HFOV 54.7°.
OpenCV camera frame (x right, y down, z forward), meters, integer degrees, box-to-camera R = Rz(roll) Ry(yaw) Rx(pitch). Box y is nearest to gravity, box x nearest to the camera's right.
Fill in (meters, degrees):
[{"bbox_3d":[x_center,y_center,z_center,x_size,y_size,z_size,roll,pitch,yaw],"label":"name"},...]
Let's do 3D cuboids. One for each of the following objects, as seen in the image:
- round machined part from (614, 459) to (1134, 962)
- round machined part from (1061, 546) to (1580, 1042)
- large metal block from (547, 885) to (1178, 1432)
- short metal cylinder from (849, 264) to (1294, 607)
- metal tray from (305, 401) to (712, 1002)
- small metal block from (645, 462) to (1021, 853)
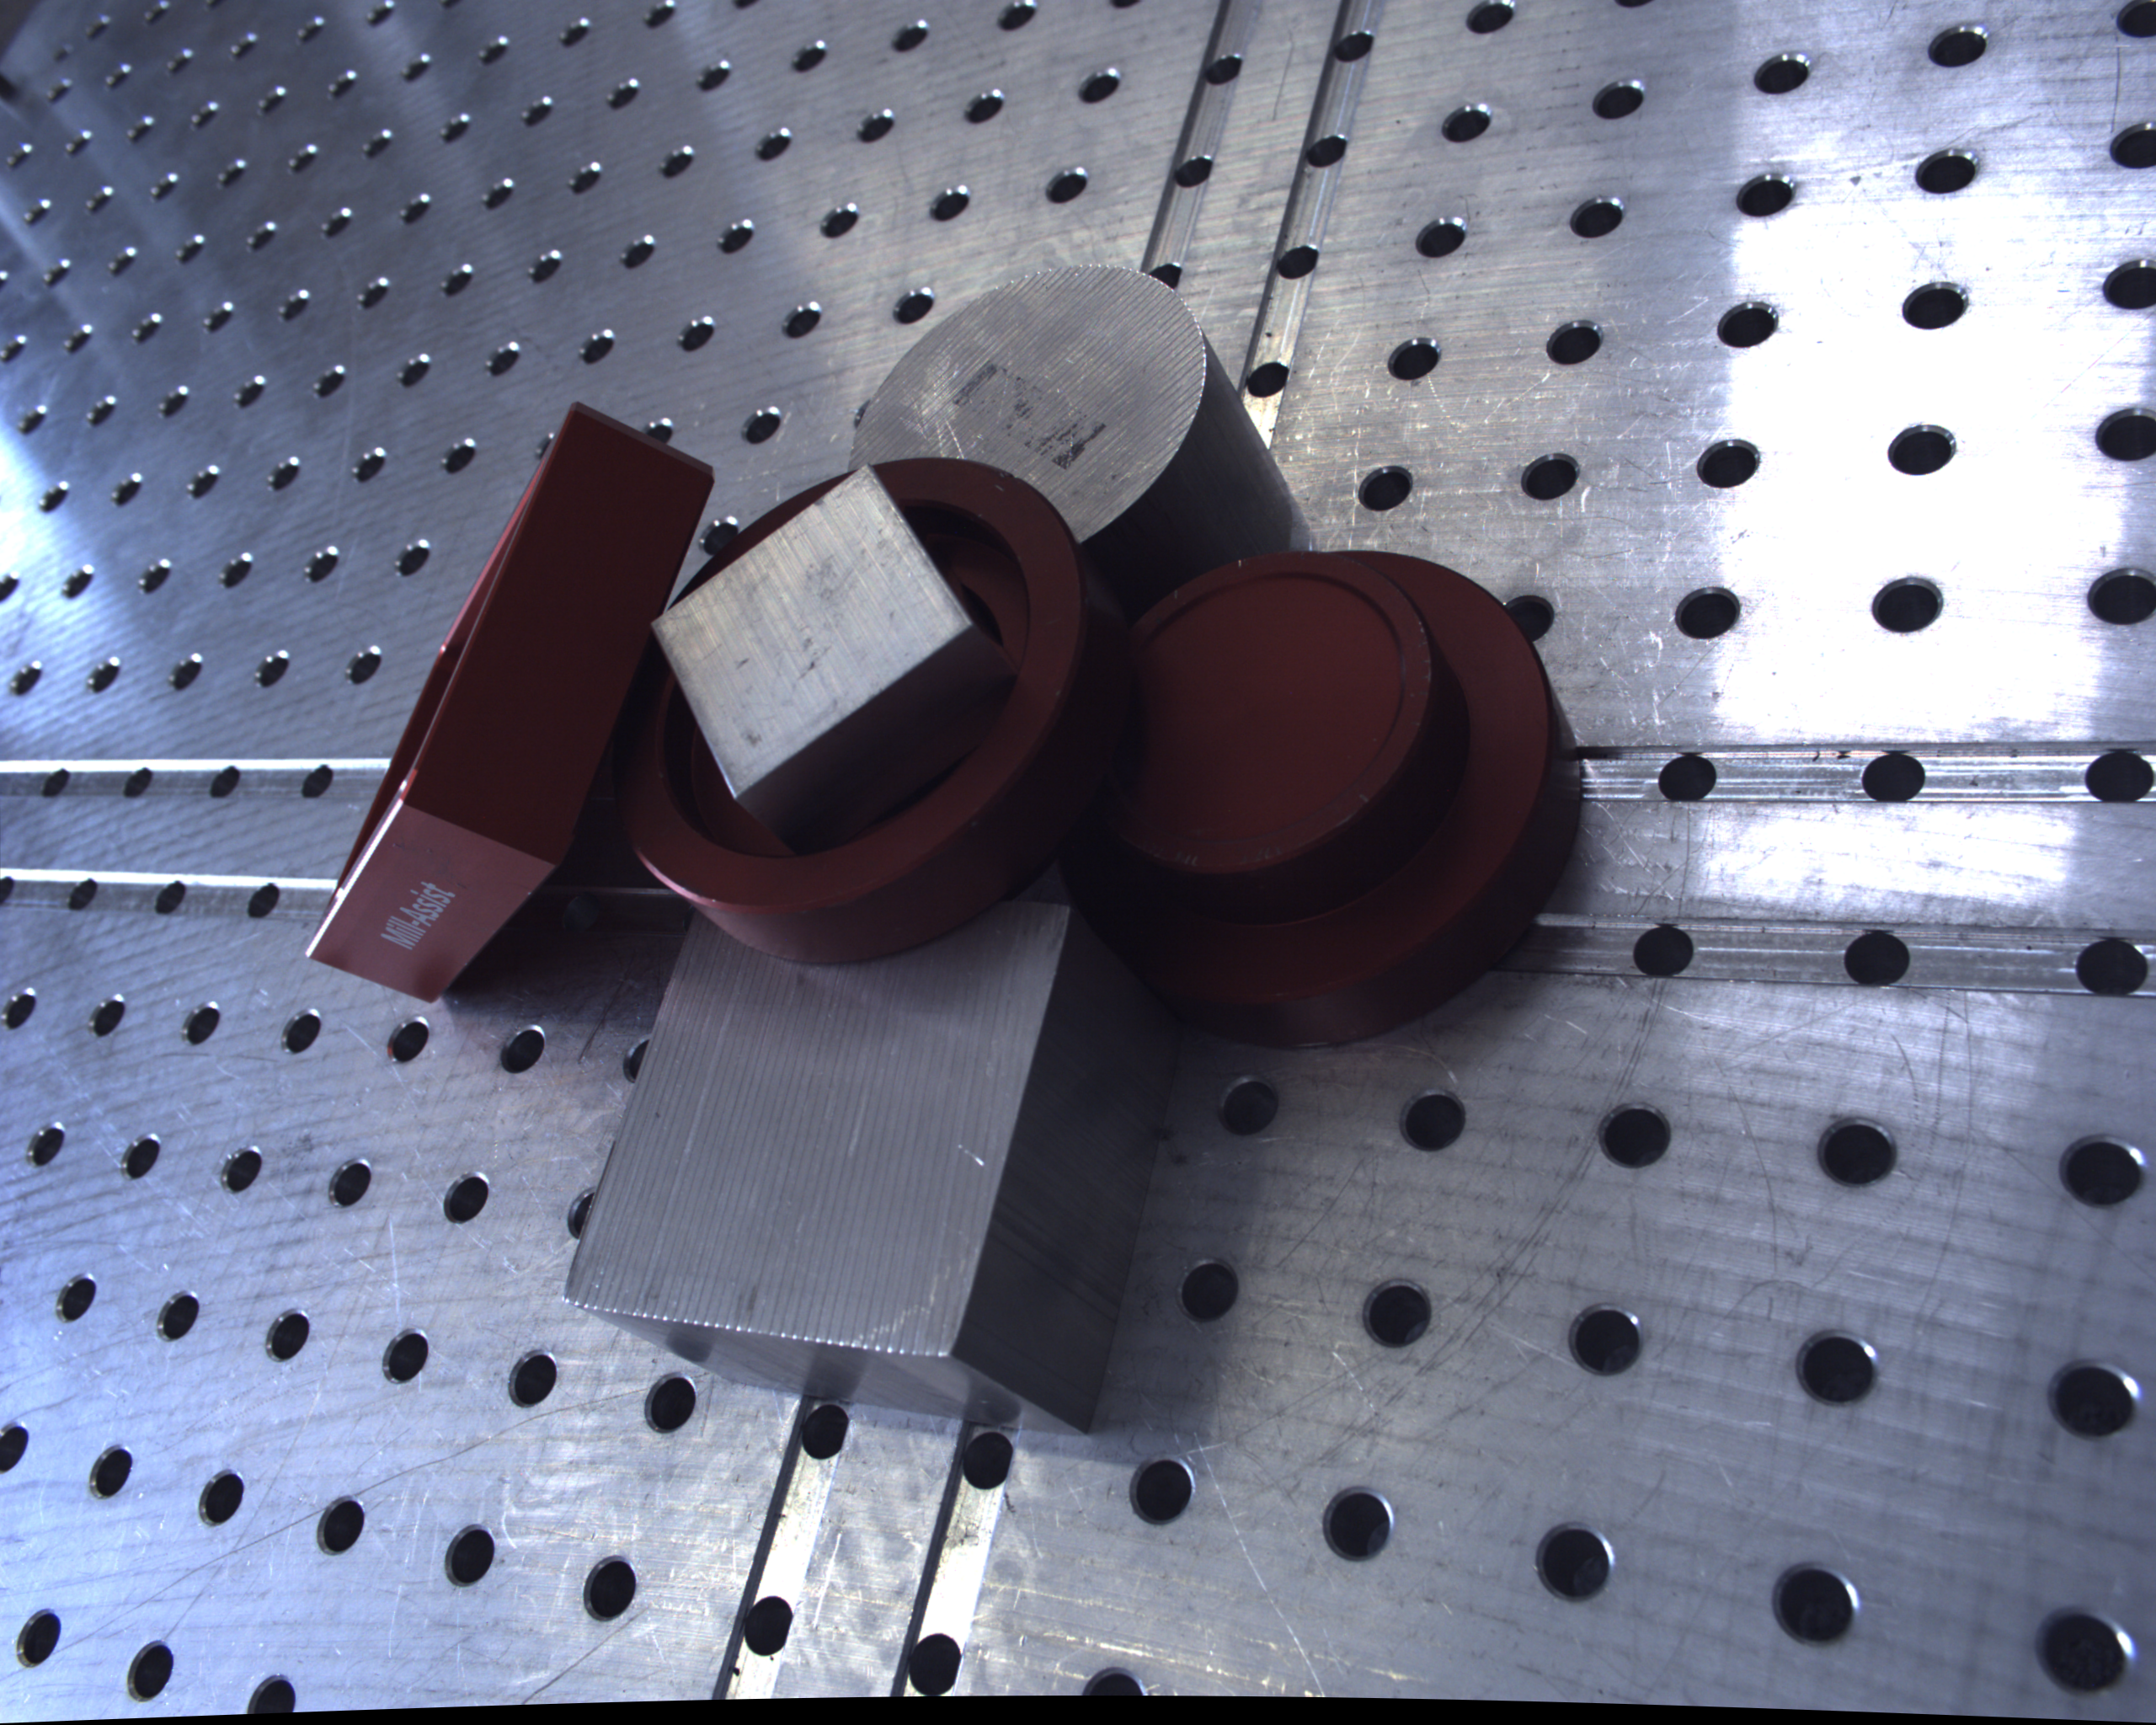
[{"bbox_3d":[-0.034,-0.025,0.393,0.098,0.042,0.098,-13,56,21],"label":"round machined part"},{"bbox_3d":[0.039,-0.019,0.387,0.098,0.042,0.098,-13,56,21],"label":"round machined part"},{"bbox_3d":[-0.036,0.051,0.376,0.080,0.050,0.080,1,62,28],"label":"large metal block"},{"bbox_3d":[-0.001,-0.078,0.440,0.080,0.050,0.080,-13,56,21],"label":"short metal cylinder"},{"bbox_3d":[-0.123,-0.029,0.441,0.129,0.030,0.090,-31,39,58],"label":"metal tray"},{"bbox_3d":[-0.043,-0.036,0.374,0.050,0.025,0.050,-36,51,4],"label":"small metal block"}]
